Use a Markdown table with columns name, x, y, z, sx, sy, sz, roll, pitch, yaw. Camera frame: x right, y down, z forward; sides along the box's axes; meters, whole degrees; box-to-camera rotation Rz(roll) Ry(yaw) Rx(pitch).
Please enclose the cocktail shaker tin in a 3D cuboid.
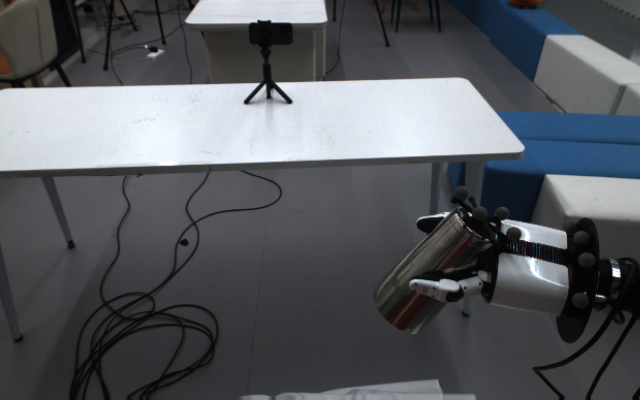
| name | x | y | z | sx | sy | sz | roll | pitch | yaw |
| --- | --- | --- | --- | --- | --- | --- | --- | --- | --- |
| cocktail shaker tin | 0.156 | 0.085 | 0.652 | 0.093 | 0.170 | 0.093 | 26 | 33 | -18 |
